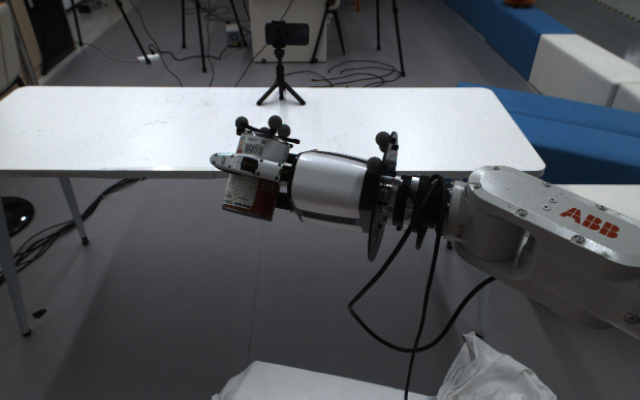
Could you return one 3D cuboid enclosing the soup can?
[{"bbox_3d":[-0.081,-0.029,0.619,0.067,0.101,0.067,13,-6,1],"label":"soup can"}]
